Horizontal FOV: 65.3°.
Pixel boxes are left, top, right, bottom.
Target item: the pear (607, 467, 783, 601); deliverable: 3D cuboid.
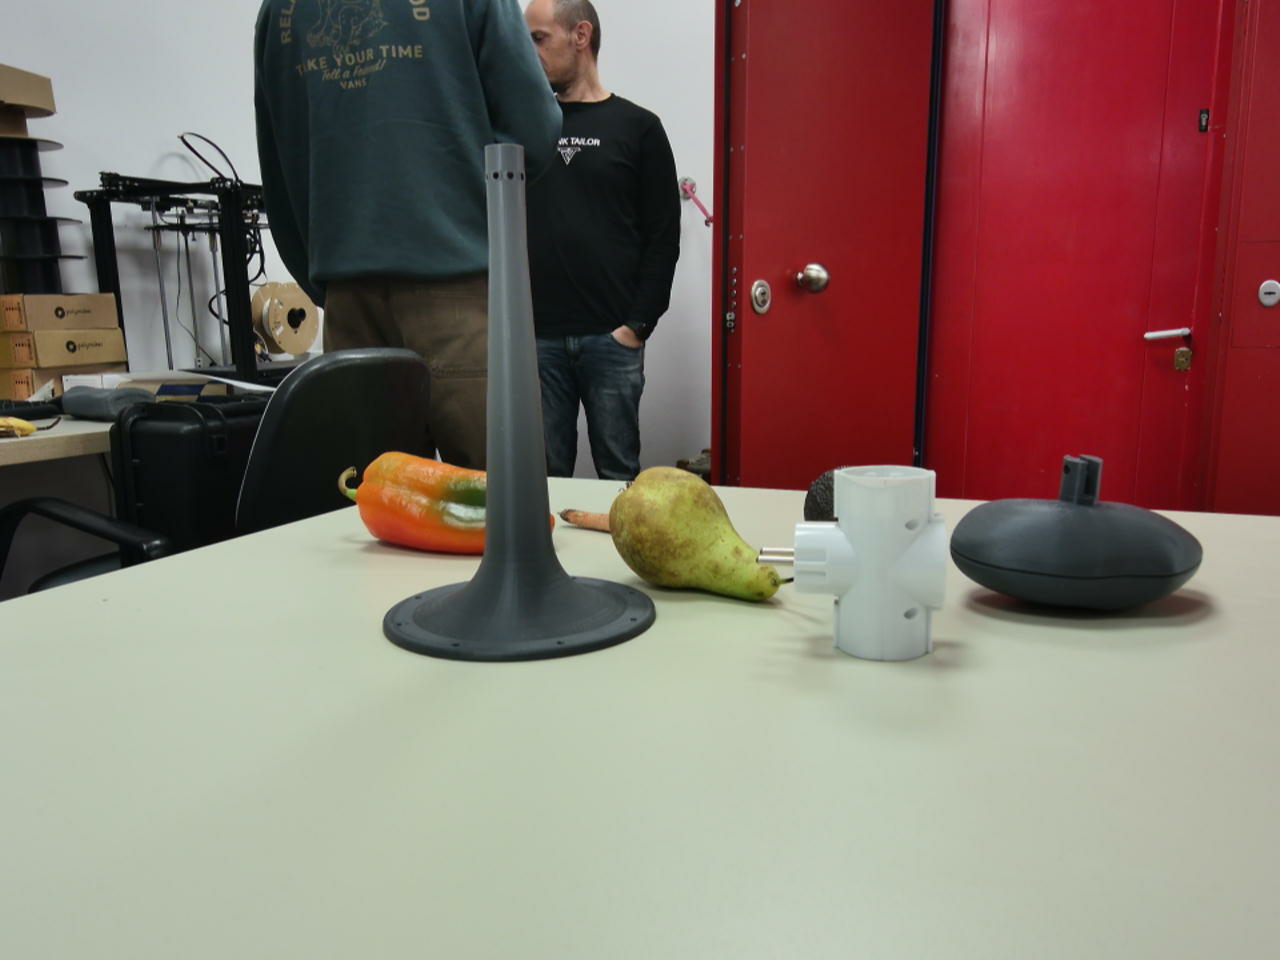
[{"bbox_3d":[0.047,0.032,0.614,0.144,0.075,0.071,6,9,30],"label":"pear"}]
